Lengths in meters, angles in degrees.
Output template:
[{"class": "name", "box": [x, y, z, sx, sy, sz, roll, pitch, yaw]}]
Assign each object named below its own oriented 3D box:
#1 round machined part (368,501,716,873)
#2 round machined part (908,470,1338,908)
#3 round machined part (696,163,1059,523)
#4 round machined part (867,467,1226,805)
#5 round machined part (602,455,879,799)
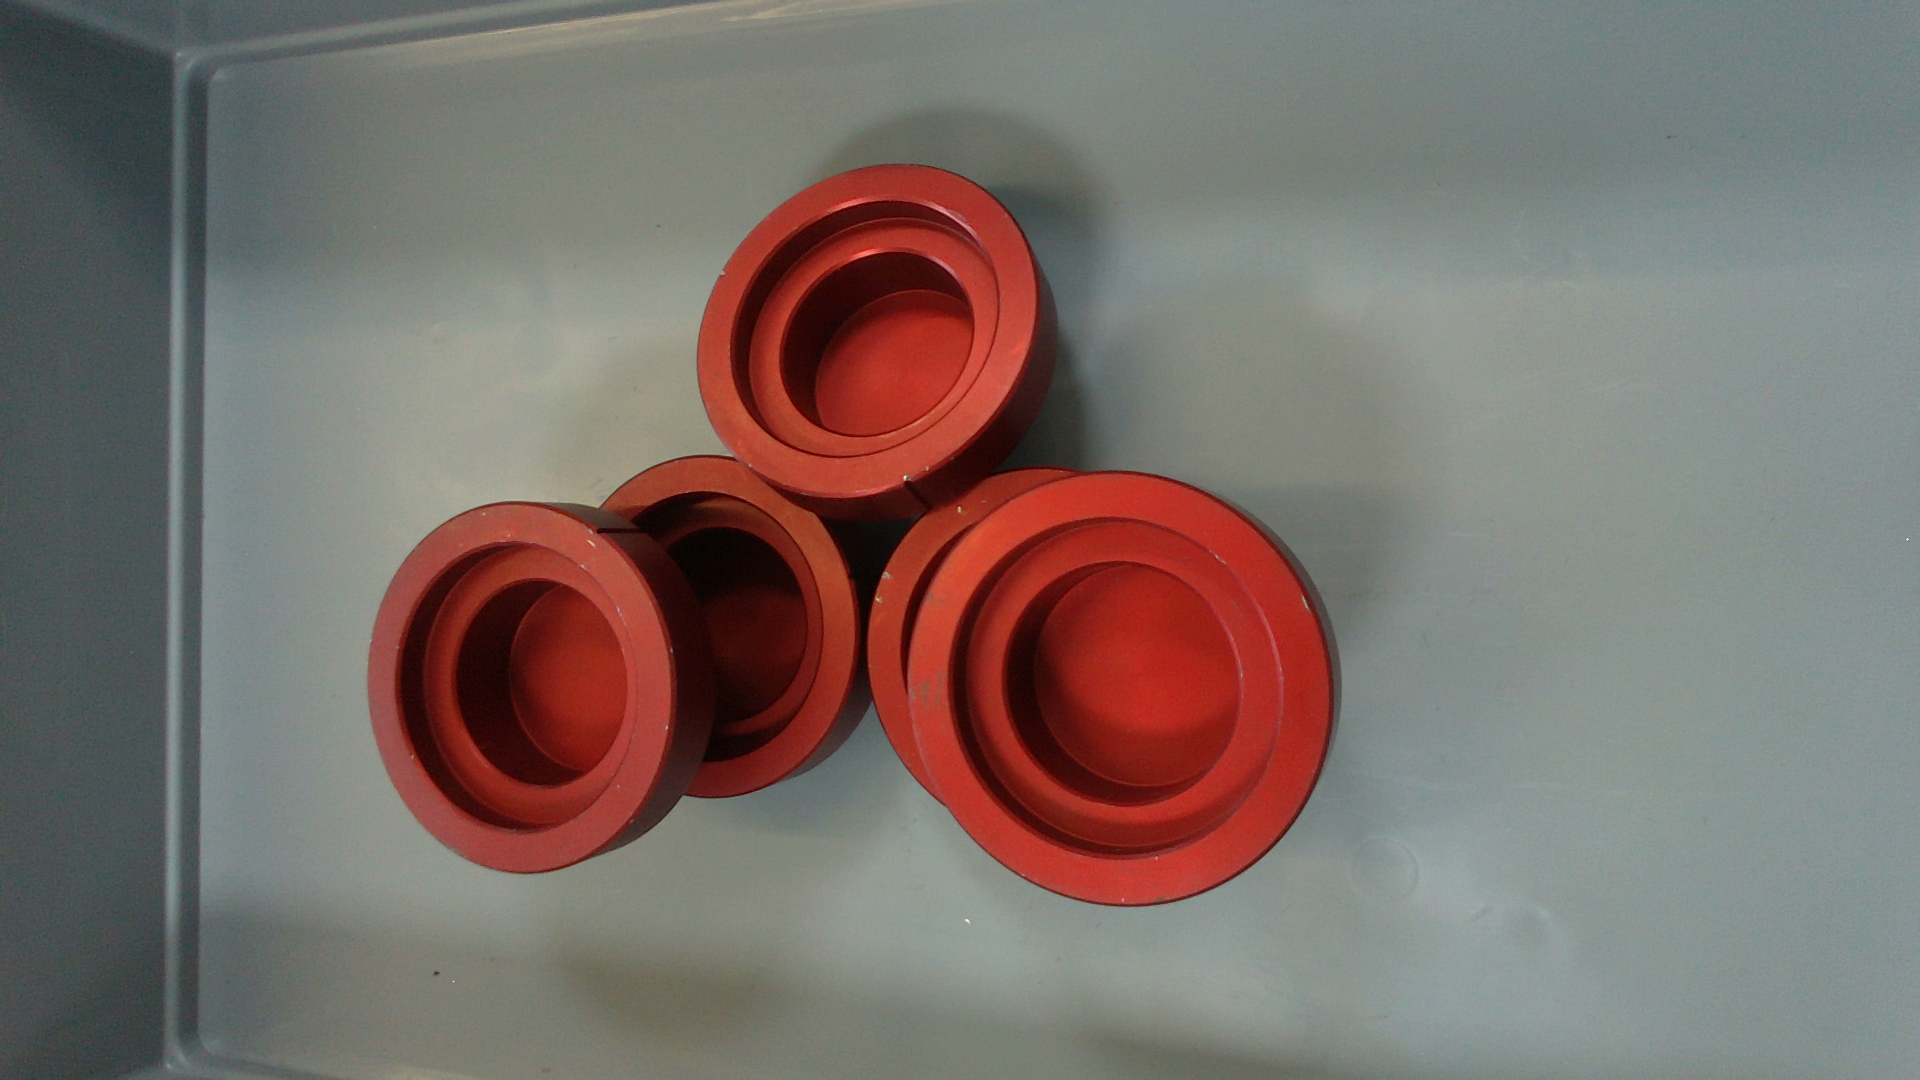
[{"class": "round machined part", "box": [-0.110, 0.039, 0.381, 0.098, 0.042, 0.098, 0, 90, 20]}, {"class": "round machined part", "box": [0.040, 0.033, 0.327, 0.098, 0.042, 0.098, 0, 90, 20]}, {"class": "round machined part", "box": [-0.020, -0.051, 0.382, 0.098, 0.042, 0.098, -6, 70, 17]}, {"class": "round machined part", "box": [0.028, 0.030, 0.376, 0.098, 0.042, 0.098, 0, 90, 20]}, {"class": "round machined part", "box": [-0.066, 0.025, 0.410, 0.098, 0.042, 0.098, 0, 90, 20]}]
